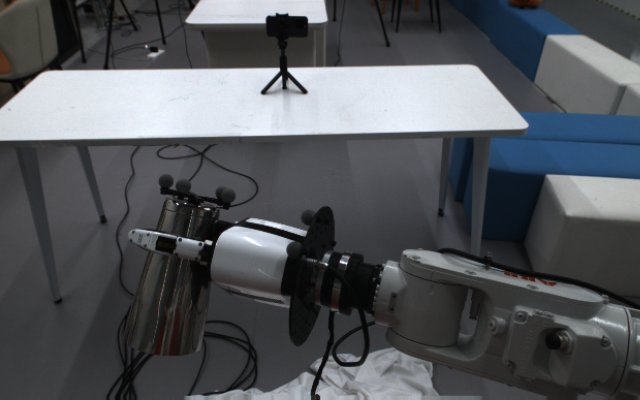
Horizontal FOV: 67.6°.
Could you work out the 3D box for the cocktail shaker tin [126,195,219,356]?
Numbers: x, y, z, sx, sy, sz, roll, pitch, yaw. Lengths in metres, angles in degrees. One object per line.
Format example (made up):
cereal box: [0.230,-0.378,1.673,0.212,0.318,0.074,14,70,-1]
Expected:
cocktail shaker tin: [-0.167,0.086,0.582,0.093,0.170,0.093,13,1,0]
